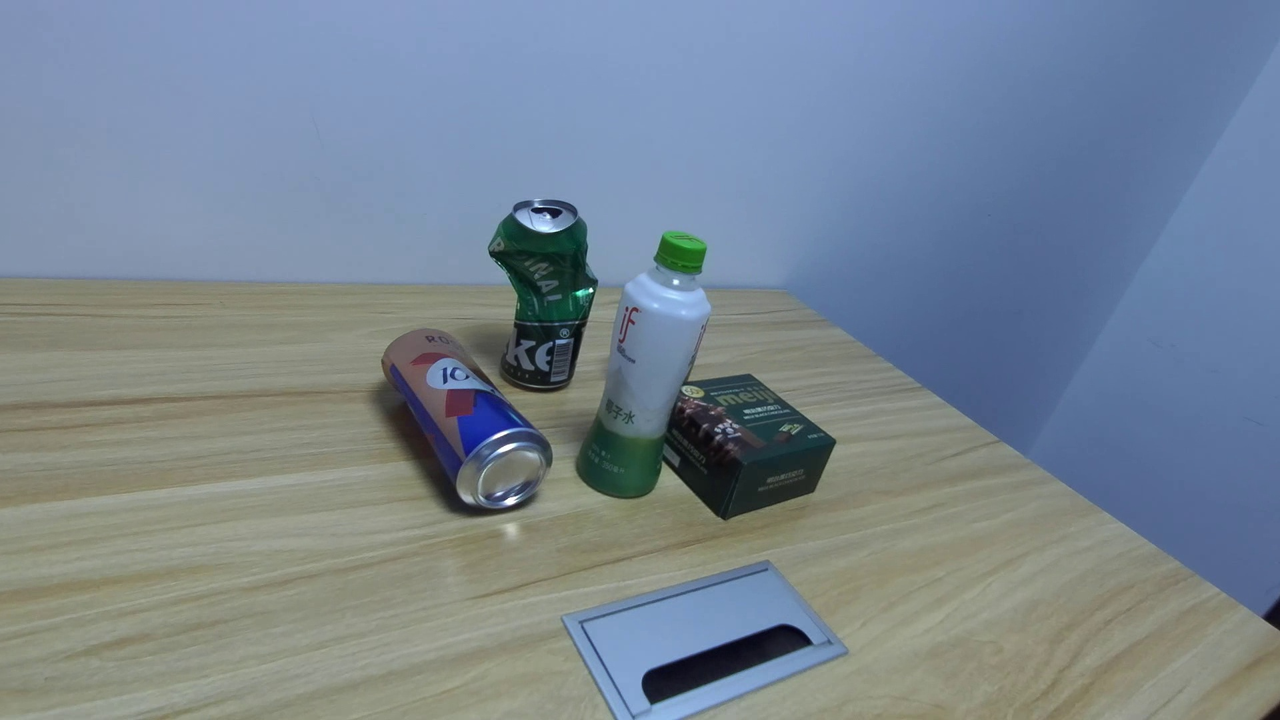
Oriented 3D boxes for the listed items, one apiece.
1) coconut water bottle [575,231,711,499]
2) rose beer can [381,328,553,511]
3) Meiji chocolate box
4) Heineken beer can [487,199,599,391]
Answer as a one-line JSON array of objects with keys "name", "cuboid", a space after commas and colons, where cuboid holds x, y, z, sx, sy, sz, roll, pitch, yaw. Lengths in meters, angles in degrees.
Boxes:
[{"name": "coconut water bottle", "cuboid": [0.006, 0.005, 0.492, 0.063, 0.188, 0.063, 13, 26, -6]}, {"name": "rose beer can", "cuboid": [-0.127, 0.035, 0.507, 0.070, 0.069, 0.167, -26, 43, -25]}, {"name": "Meiji chocolate box", "cuboid": [0.080, 0.065, 0.575, 0.110, 0.056, 0.108, -5, 33, -37]}, {"name": "Heineken beer can", "cuboid": [-0.080, -0.053, 0.601, 0.067, 0.159, 0.079, 23, 32, 25]}]
